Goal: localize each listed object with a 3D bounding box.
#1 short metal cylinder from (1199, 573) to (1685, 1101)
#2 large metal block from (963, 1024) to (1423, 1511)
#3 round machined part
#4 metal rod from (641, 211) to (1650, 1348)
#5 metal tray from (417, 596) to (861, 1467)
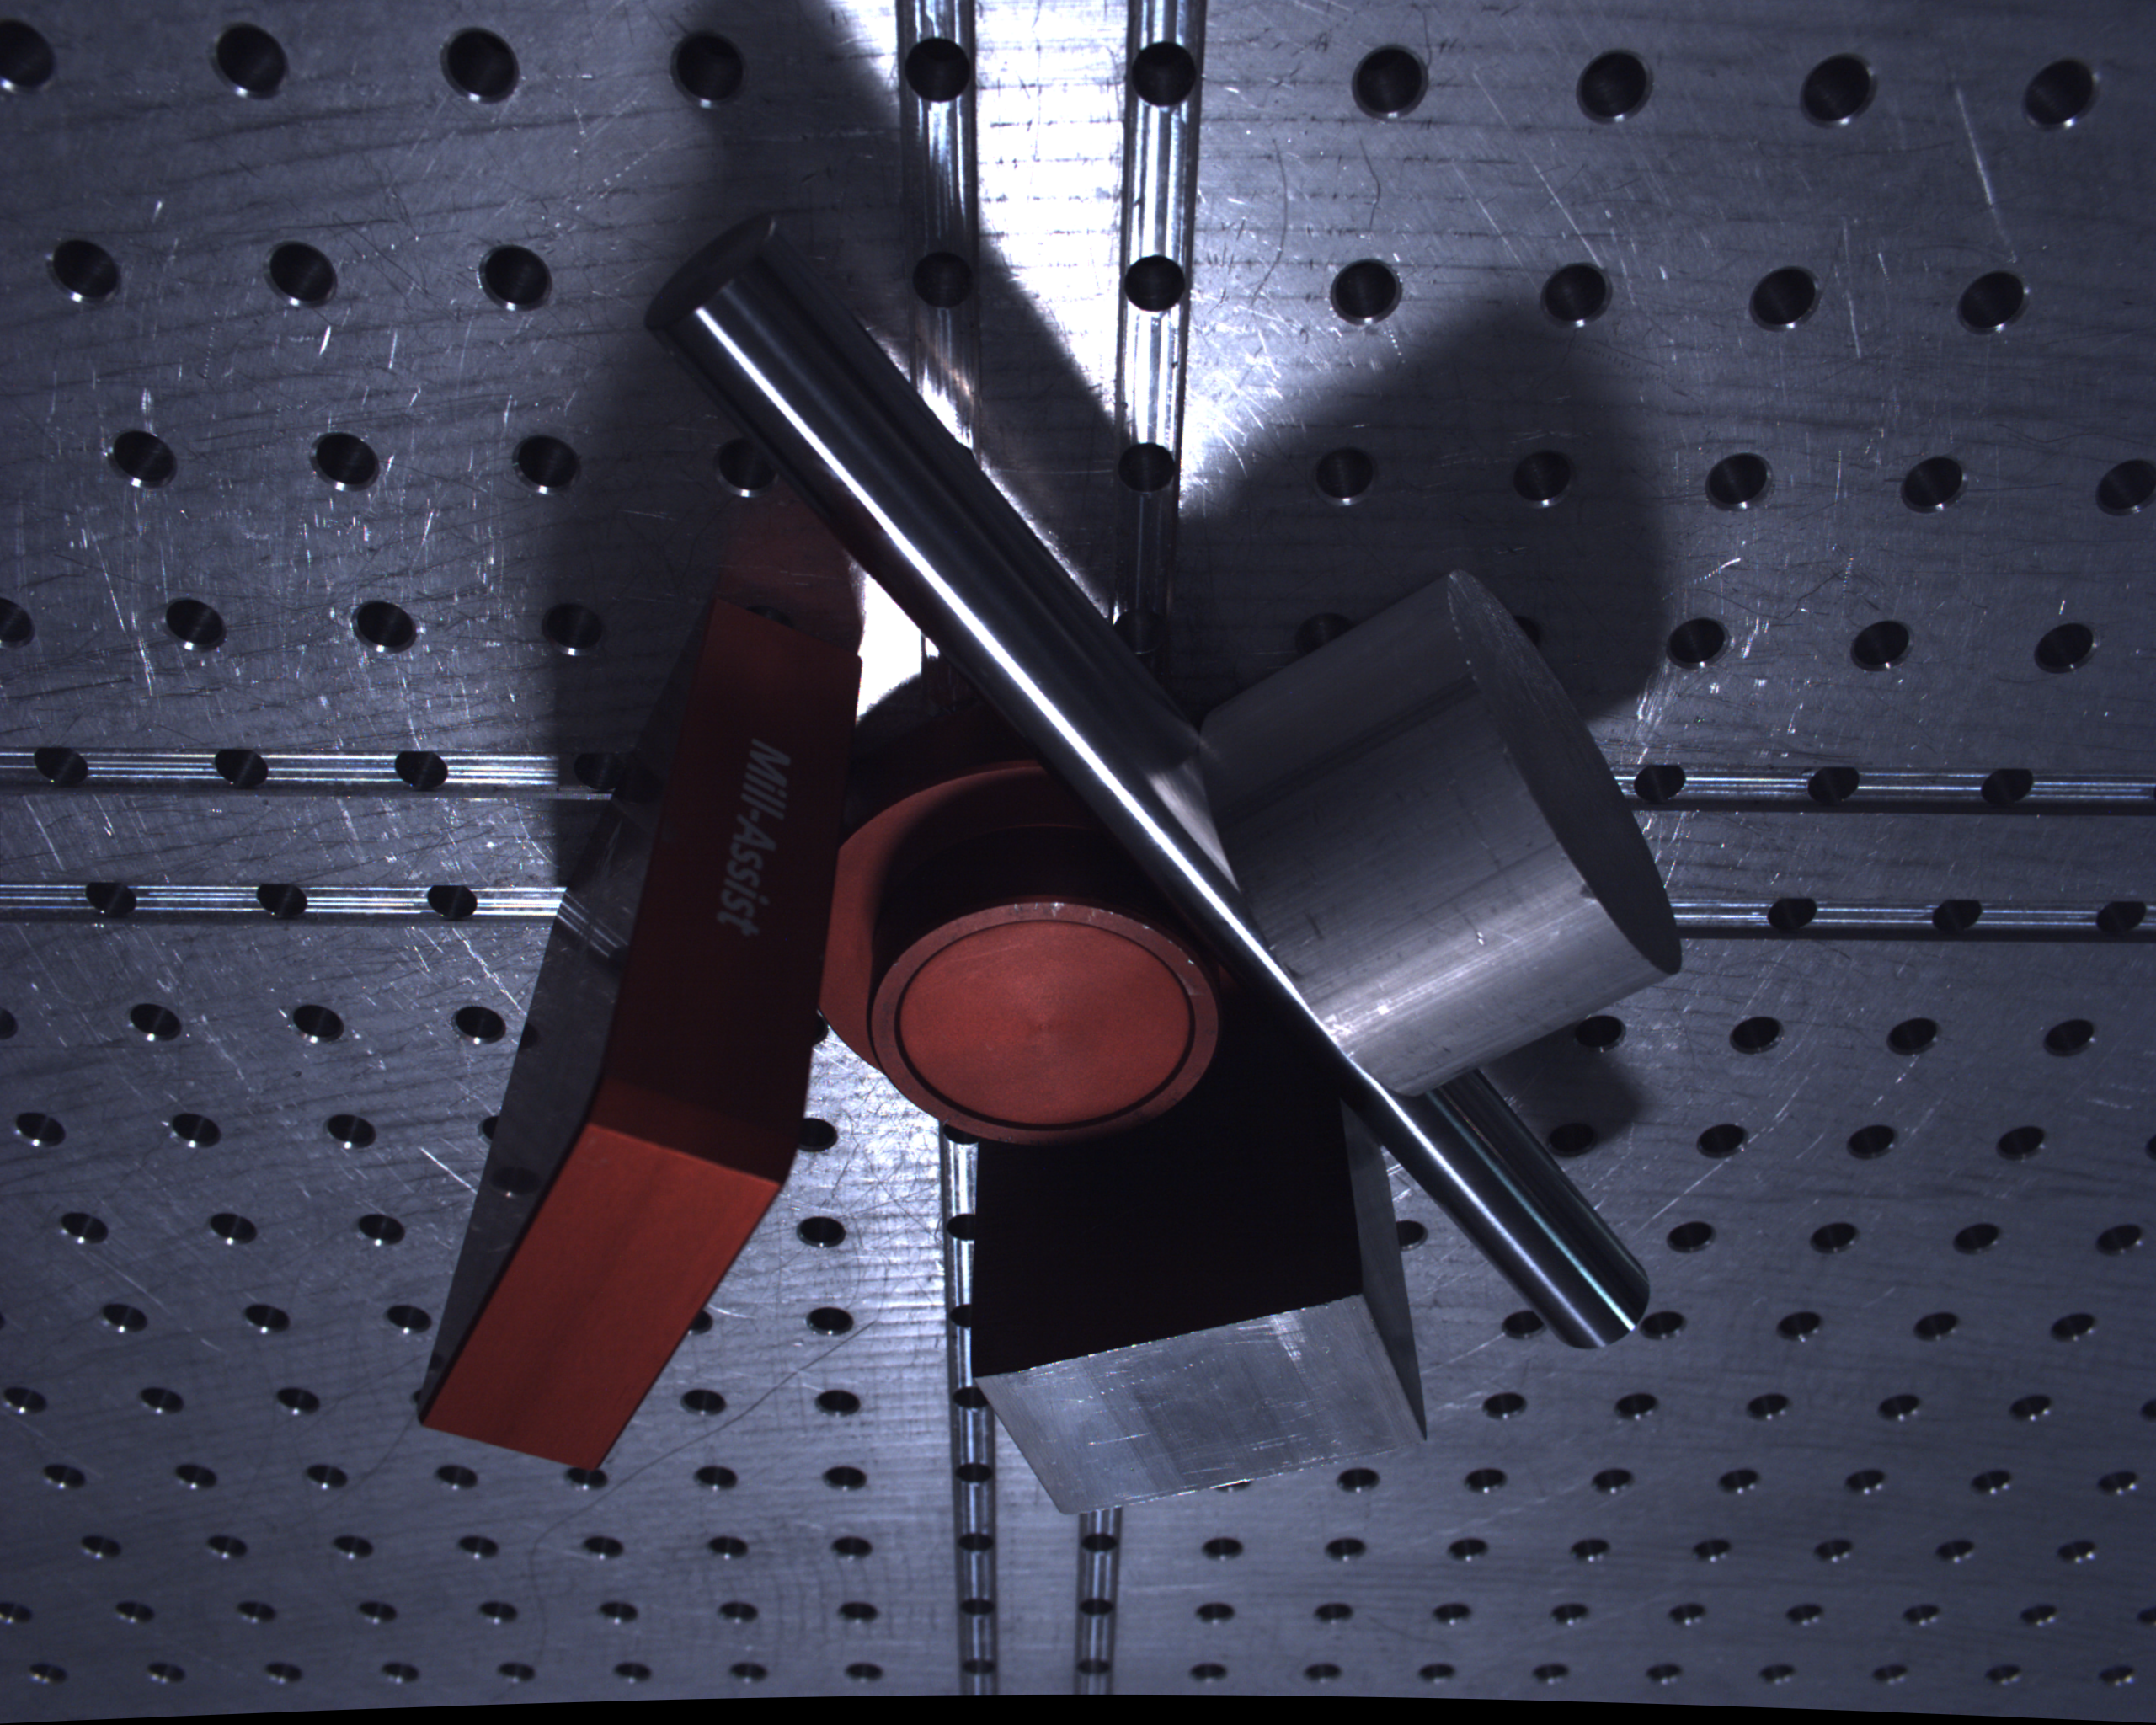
[{"bbox_3d":[0.065,-0.004,0.371,0.050,0.080,0.080,-30,124,22],"label":"short metal cylinder"},{"bbox_3d":[0.024,0.083,0.447,0.080,0.080,0.050,-15,129,12],"label":"large metal block"},{"bbox_3d":[-0.007,0.019,0.416,0.099,0.042,0.097,-1,130,0],"label":"round machined part"},{"bbox_3d":[0.031,0.005,0.389,0.025,0.025,0.300,-28,125,21],"label":"metal rod"},{"bbox_3d":[-0.074,0.025,0.364,0.030,0.130,0.089,22,127,-18],"label":"metal tray"}]
